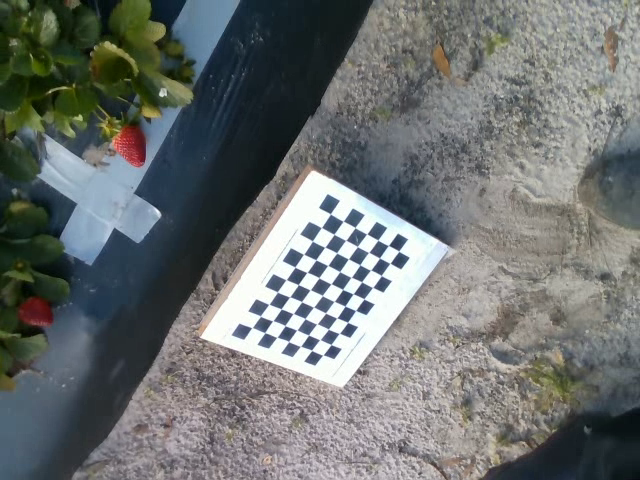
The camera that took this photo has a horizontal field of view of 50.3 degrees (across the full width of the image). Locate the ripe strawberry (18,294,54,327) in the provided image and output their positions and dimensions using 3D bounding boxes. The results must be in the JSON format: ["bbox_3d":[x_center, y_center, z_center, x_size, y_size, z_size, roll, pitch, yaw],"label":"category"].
[{"bbox_3d":[-0.171,0.044,0.412,0.023,0.018,0.020,34,34,-2],"label":"ripe strawberry"}]

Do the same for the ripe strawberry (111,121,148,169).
[{"bbox_3d":[-0.107,-0.052,0.385,0.023,0.026,0.020,-33,-3,31],"label":"ripe strawberry"}]
